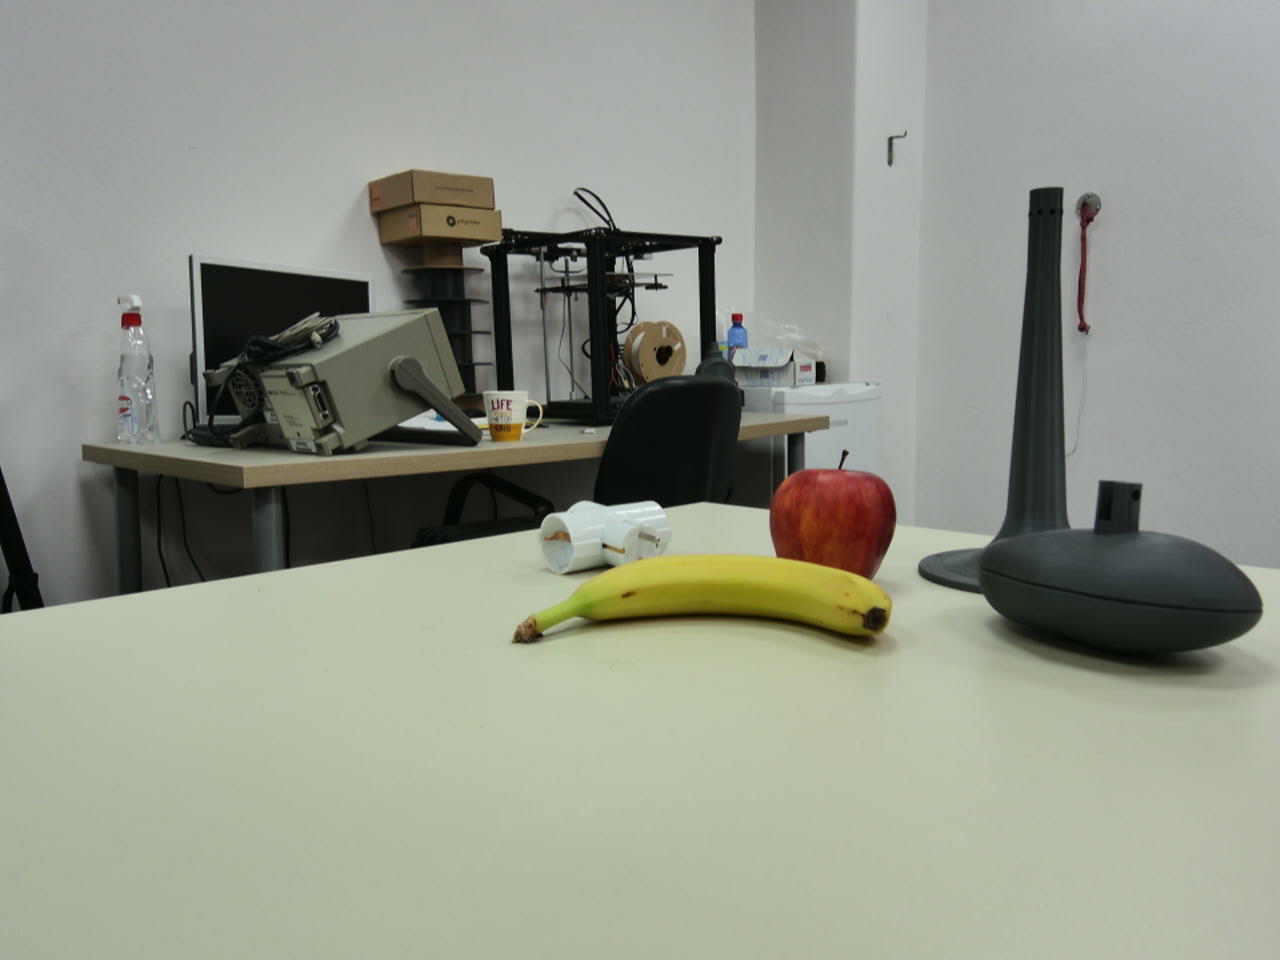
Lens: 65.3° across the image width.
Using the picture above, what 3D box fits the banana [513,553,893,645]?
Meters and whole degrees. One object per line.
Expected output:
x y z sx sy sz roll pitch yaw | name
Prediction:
0.036 0.065 0.562 0.196 0.041 0.094 1 5 12 | banana
